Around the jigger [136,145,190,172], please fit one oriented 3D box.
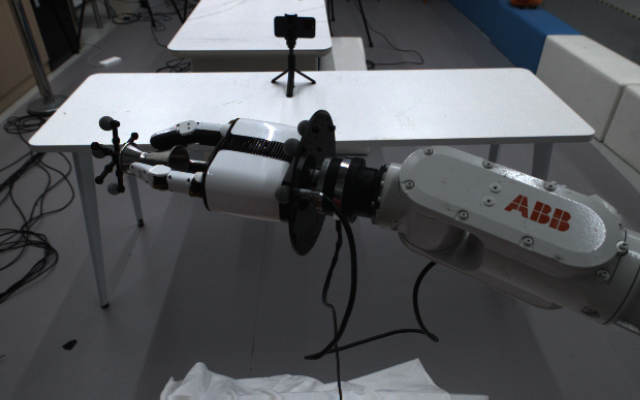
[{"bbox_3d":[-0.190,-0.048,0.575,0.071,0.043,0.043,7,35,15],"label":"jigger"}]
